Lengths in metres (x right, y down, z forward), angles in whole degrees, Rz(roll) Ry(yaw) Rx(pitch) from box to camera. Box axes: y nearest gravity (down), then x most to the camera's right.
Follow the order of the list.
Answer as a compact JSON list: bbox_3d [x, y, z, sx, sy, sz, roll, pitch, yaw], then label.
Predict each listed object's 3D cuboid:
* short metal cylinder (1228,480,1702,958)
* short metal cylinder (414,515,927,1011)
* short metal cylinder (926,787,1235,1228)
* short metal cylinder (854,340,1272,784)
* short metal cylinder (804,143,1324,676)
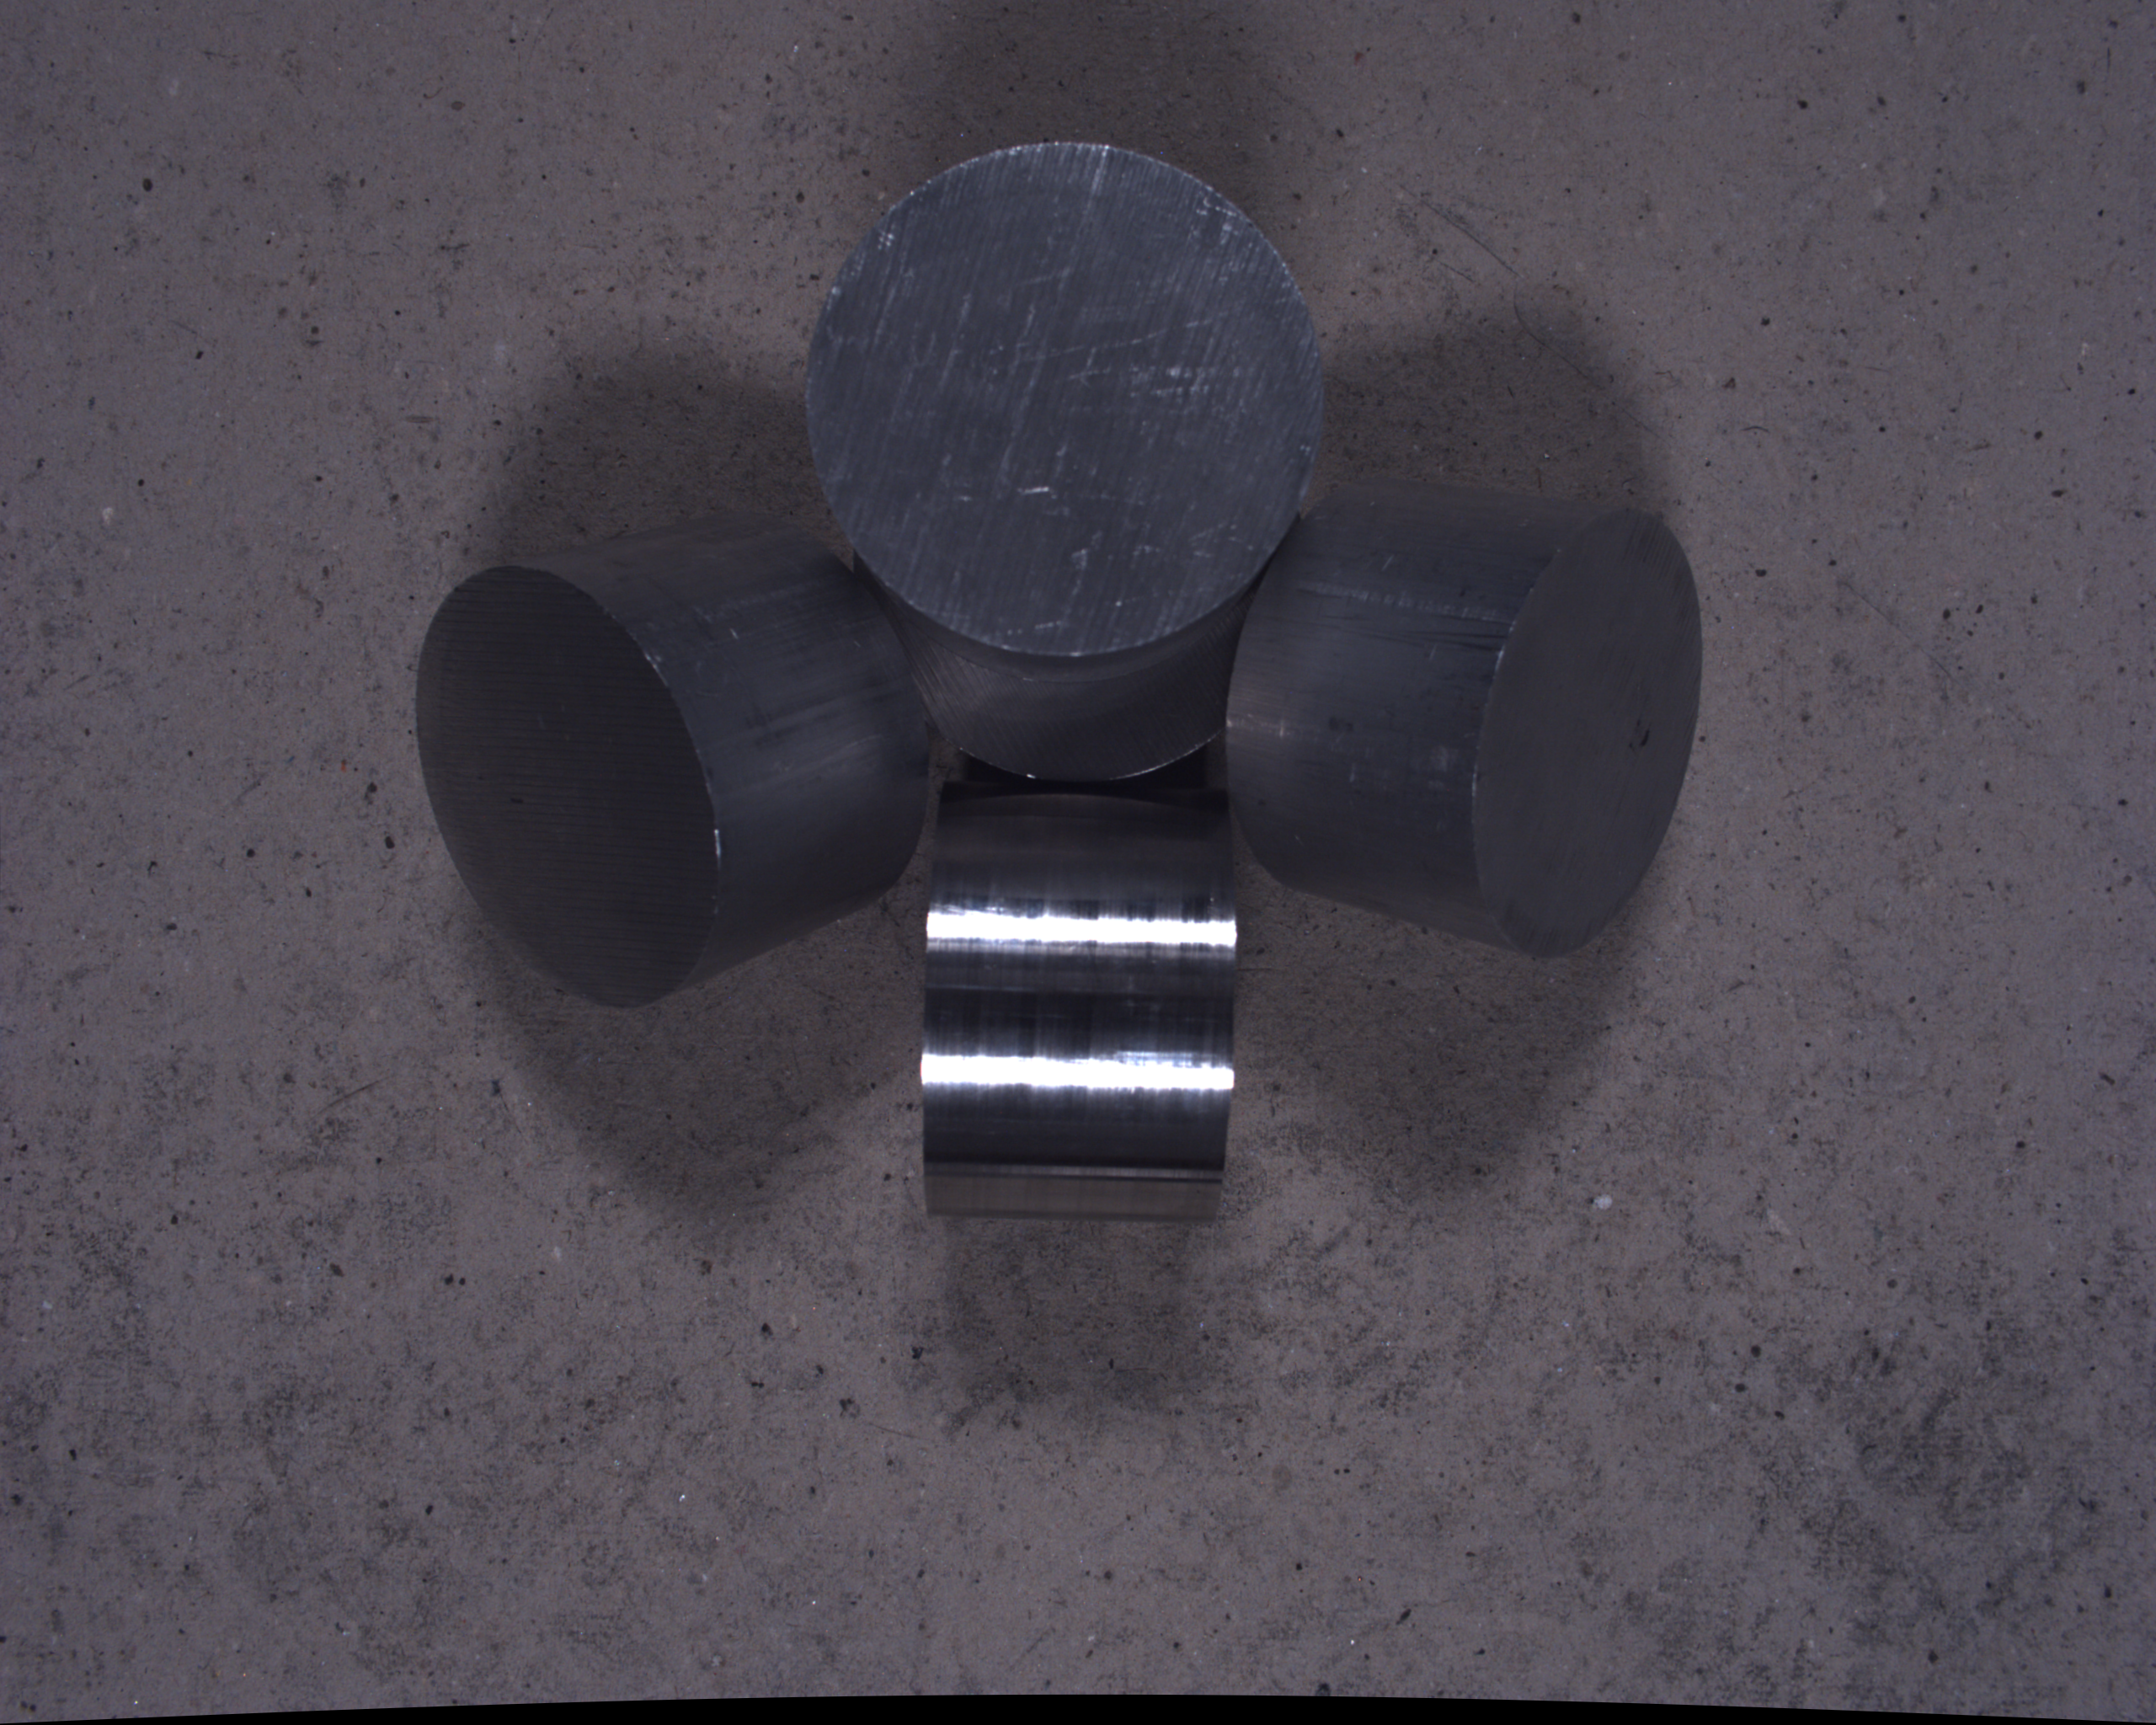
[{"bbox_3d":[0.072,-0.027,0.379,0.050,0.080,0.080,15,90,38],"label":"short metal cylinder"},{"bbox_3d":[-0.074,-0.019,0.378,0.080,0.050,0.079,17,118,35],"label":"short metal cylinder"},{"bbox_3d":[0.000,0.026,0.383,0.050,0.080,0.079,2,90,0],"label":"short metal cylinder"},{"bbox_3d":[0.000,-0.054,0.399,0.081,0.050,0.079,0,90,-1],"label":"short metal cylinder"},{"bbox_3d":[-0.002,-0.072,0.348,0.081,0.050,0.079,0,90,-1],"label":"short metal cylinder"}]
